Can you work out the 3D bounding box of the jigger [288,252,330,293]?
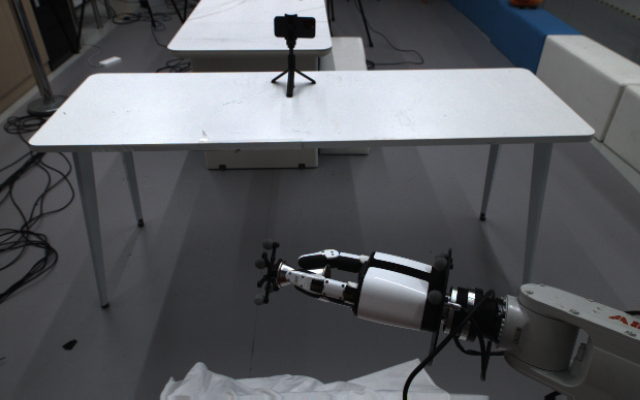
[{"bbox_3d":[-0.016,0.106,0.688,0.071,0.043,0.043,5,34,15],"label":"jigger"}]
